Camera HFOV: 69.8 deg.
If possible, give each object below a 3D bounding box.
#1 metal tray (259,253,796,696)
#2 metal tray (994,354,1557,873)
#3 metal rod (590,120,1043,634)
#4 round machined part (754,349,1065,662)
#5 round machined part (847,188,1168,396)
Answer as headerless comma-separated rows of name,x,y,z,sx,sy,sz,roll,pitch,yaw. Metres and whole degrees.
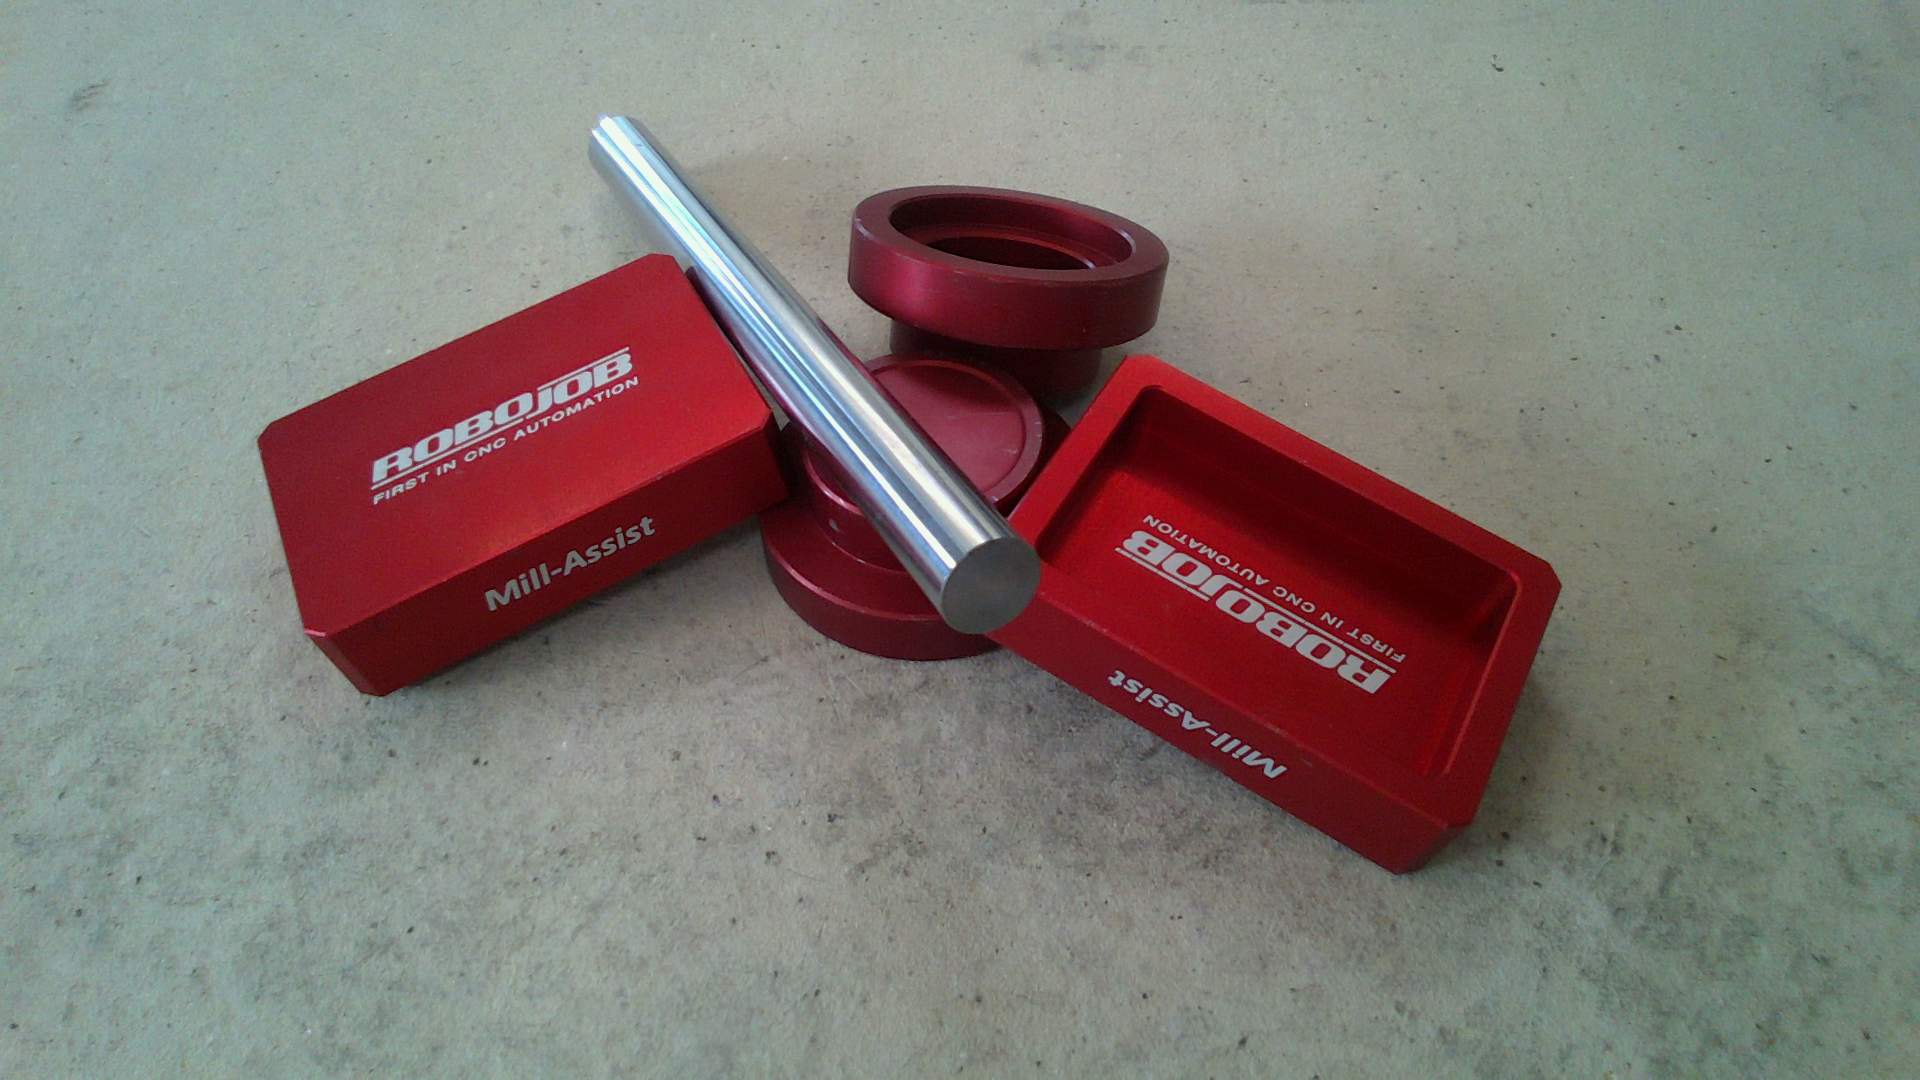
metal tray,-0.124,-0.023,0.394,0.130,0.030,0.090,-27,52,-11
metal tray,0.079,0.015,0.362,0.130,0.030,0.090,30,55,10
metal rod,-0.059,-0.067,0.405,0.025,0.025,0.299,-21,40,-17
round machined part,-0.011,-0.017,0.395,0.098,0.042,0.098,0,50,0
round machined part,0.013,-0.077,0.432,0.098,0.042,0.098,6,28,-3
